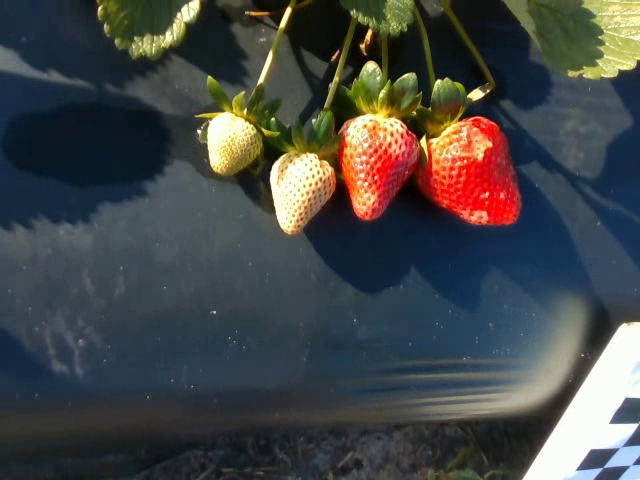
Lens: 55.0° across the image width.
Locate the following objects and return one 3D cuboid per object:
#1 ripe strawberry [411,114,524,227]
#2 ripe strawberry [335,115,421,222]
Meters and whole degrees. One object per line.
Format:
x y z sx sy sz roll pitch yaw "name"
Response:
0.079 -0.031 0.305 0.056 0.067 0.051 -37 -16 13 "ripe strawberry"
0.027 -0.035 0.293 0.050 0.061 0.043 24 -18 -33 "ripe strawberry"
